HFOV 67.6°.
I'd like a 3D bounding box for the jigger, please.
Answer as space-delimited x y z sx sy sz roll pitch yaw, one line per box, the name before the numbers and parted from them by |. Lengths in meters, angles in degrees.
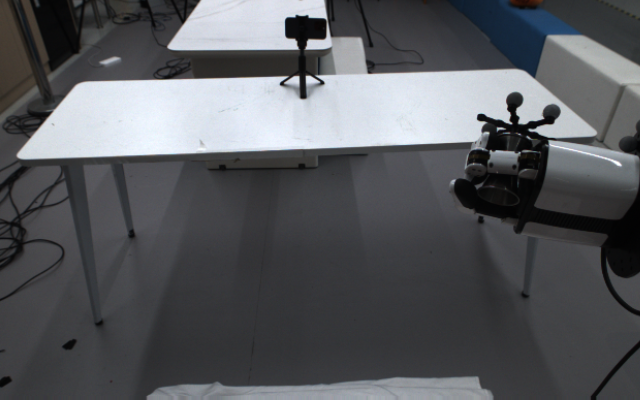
jigger | 0.200 -0.036 0.521 0.043 0.043 0.071 16 70 19
